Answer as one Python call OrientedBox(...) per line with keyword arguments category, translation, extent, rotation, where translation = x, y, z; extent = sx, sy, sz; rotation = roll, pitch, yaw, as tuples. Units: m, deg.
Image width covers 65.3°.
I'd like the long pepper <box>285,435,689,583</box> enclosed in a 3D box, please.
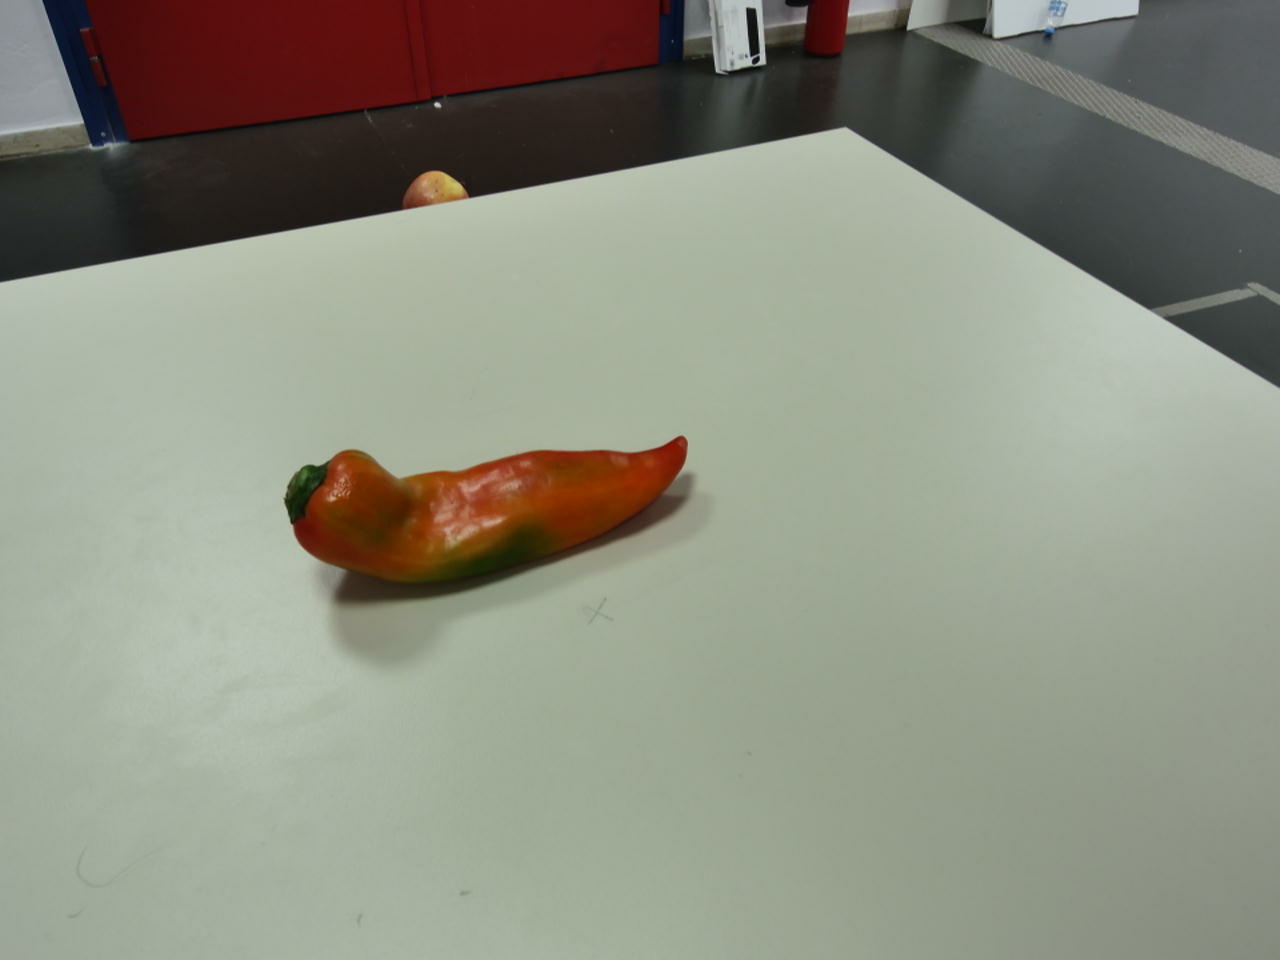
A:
OrientedBox(category="long pepper", translation=(-0.066, 0.002, 0.485), extent=(0.199, 0.065, 0.066), rotation=(-13, 40, -16))
